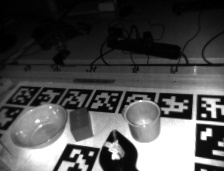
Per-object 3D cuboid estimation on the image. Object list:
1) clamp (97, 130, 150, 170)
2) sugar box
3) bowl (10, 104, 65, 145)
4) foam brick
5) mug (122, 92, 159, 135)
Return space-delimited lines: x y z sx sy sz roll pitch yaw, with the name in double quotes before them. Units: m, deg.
"clamp" 0.014 0.173 0.517 0.165 0.037 0.201 -16 41 1
"sugar box" -0.324 0.163 0.531 0.093 0.178 0.045 -16 42 -2
"bowl" -0.209 0.118 0.641 0.161 0.055 0.161 -7 41 7
"foam brick" -0.090 0.106 0.631 0.053 0.052 0.077 -18 42 -2
"mug" 0.072 0.073 0.584 0.115 0.082 0.094 24 54 32
